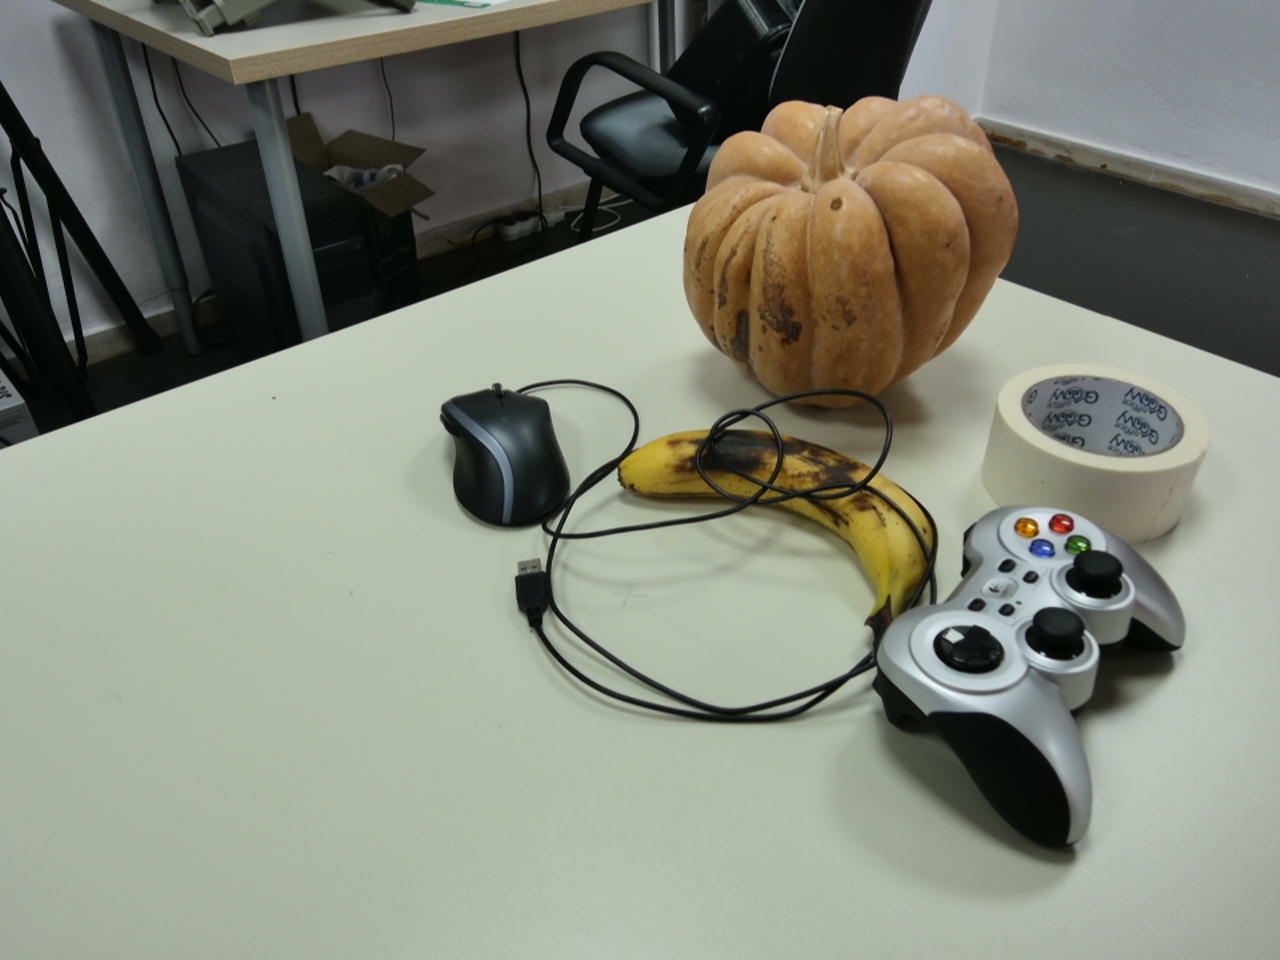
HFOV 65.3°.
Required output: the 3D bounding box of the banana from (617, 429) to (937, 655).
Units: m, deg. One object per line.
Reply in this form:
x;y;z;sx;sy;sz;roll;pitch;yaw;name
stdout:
0.080;0.013;0.526;0.094;0.039;0.187;-28;44;-32;banana
